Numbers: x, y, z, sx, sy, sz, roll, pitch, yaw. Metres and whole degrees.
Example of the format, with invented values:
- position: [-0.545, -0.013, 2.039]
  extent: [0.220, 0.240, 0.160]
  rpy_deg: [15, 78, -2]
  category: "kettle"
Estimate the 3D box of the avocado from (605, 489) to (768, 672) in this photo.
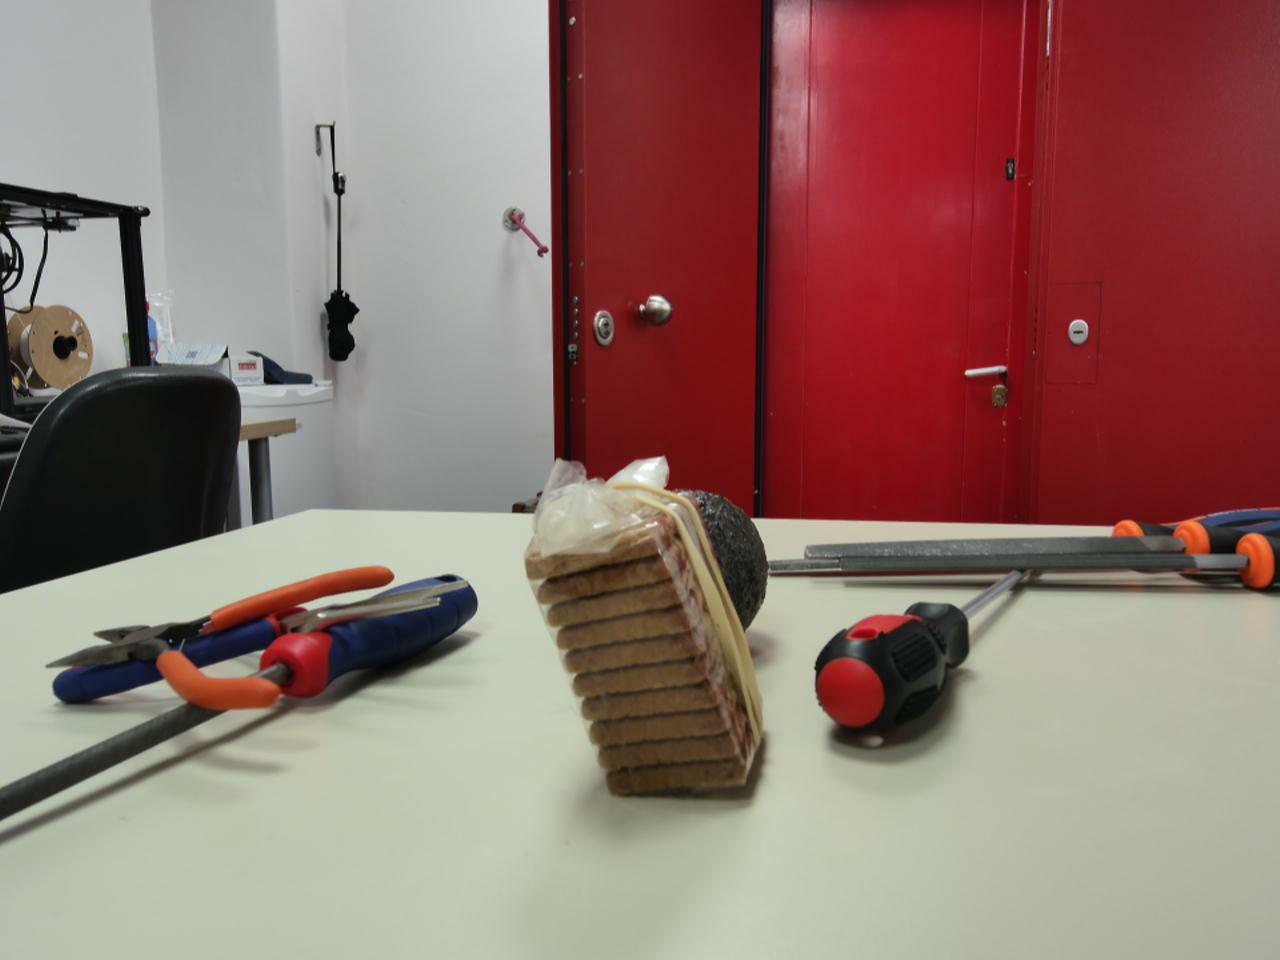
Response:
- position: [0.016, 0.039, 0.421]
  extent: [0.070, 0.069, 0.090]
  rpy_deg: [4, 5, 37]
  category: "avocado"
